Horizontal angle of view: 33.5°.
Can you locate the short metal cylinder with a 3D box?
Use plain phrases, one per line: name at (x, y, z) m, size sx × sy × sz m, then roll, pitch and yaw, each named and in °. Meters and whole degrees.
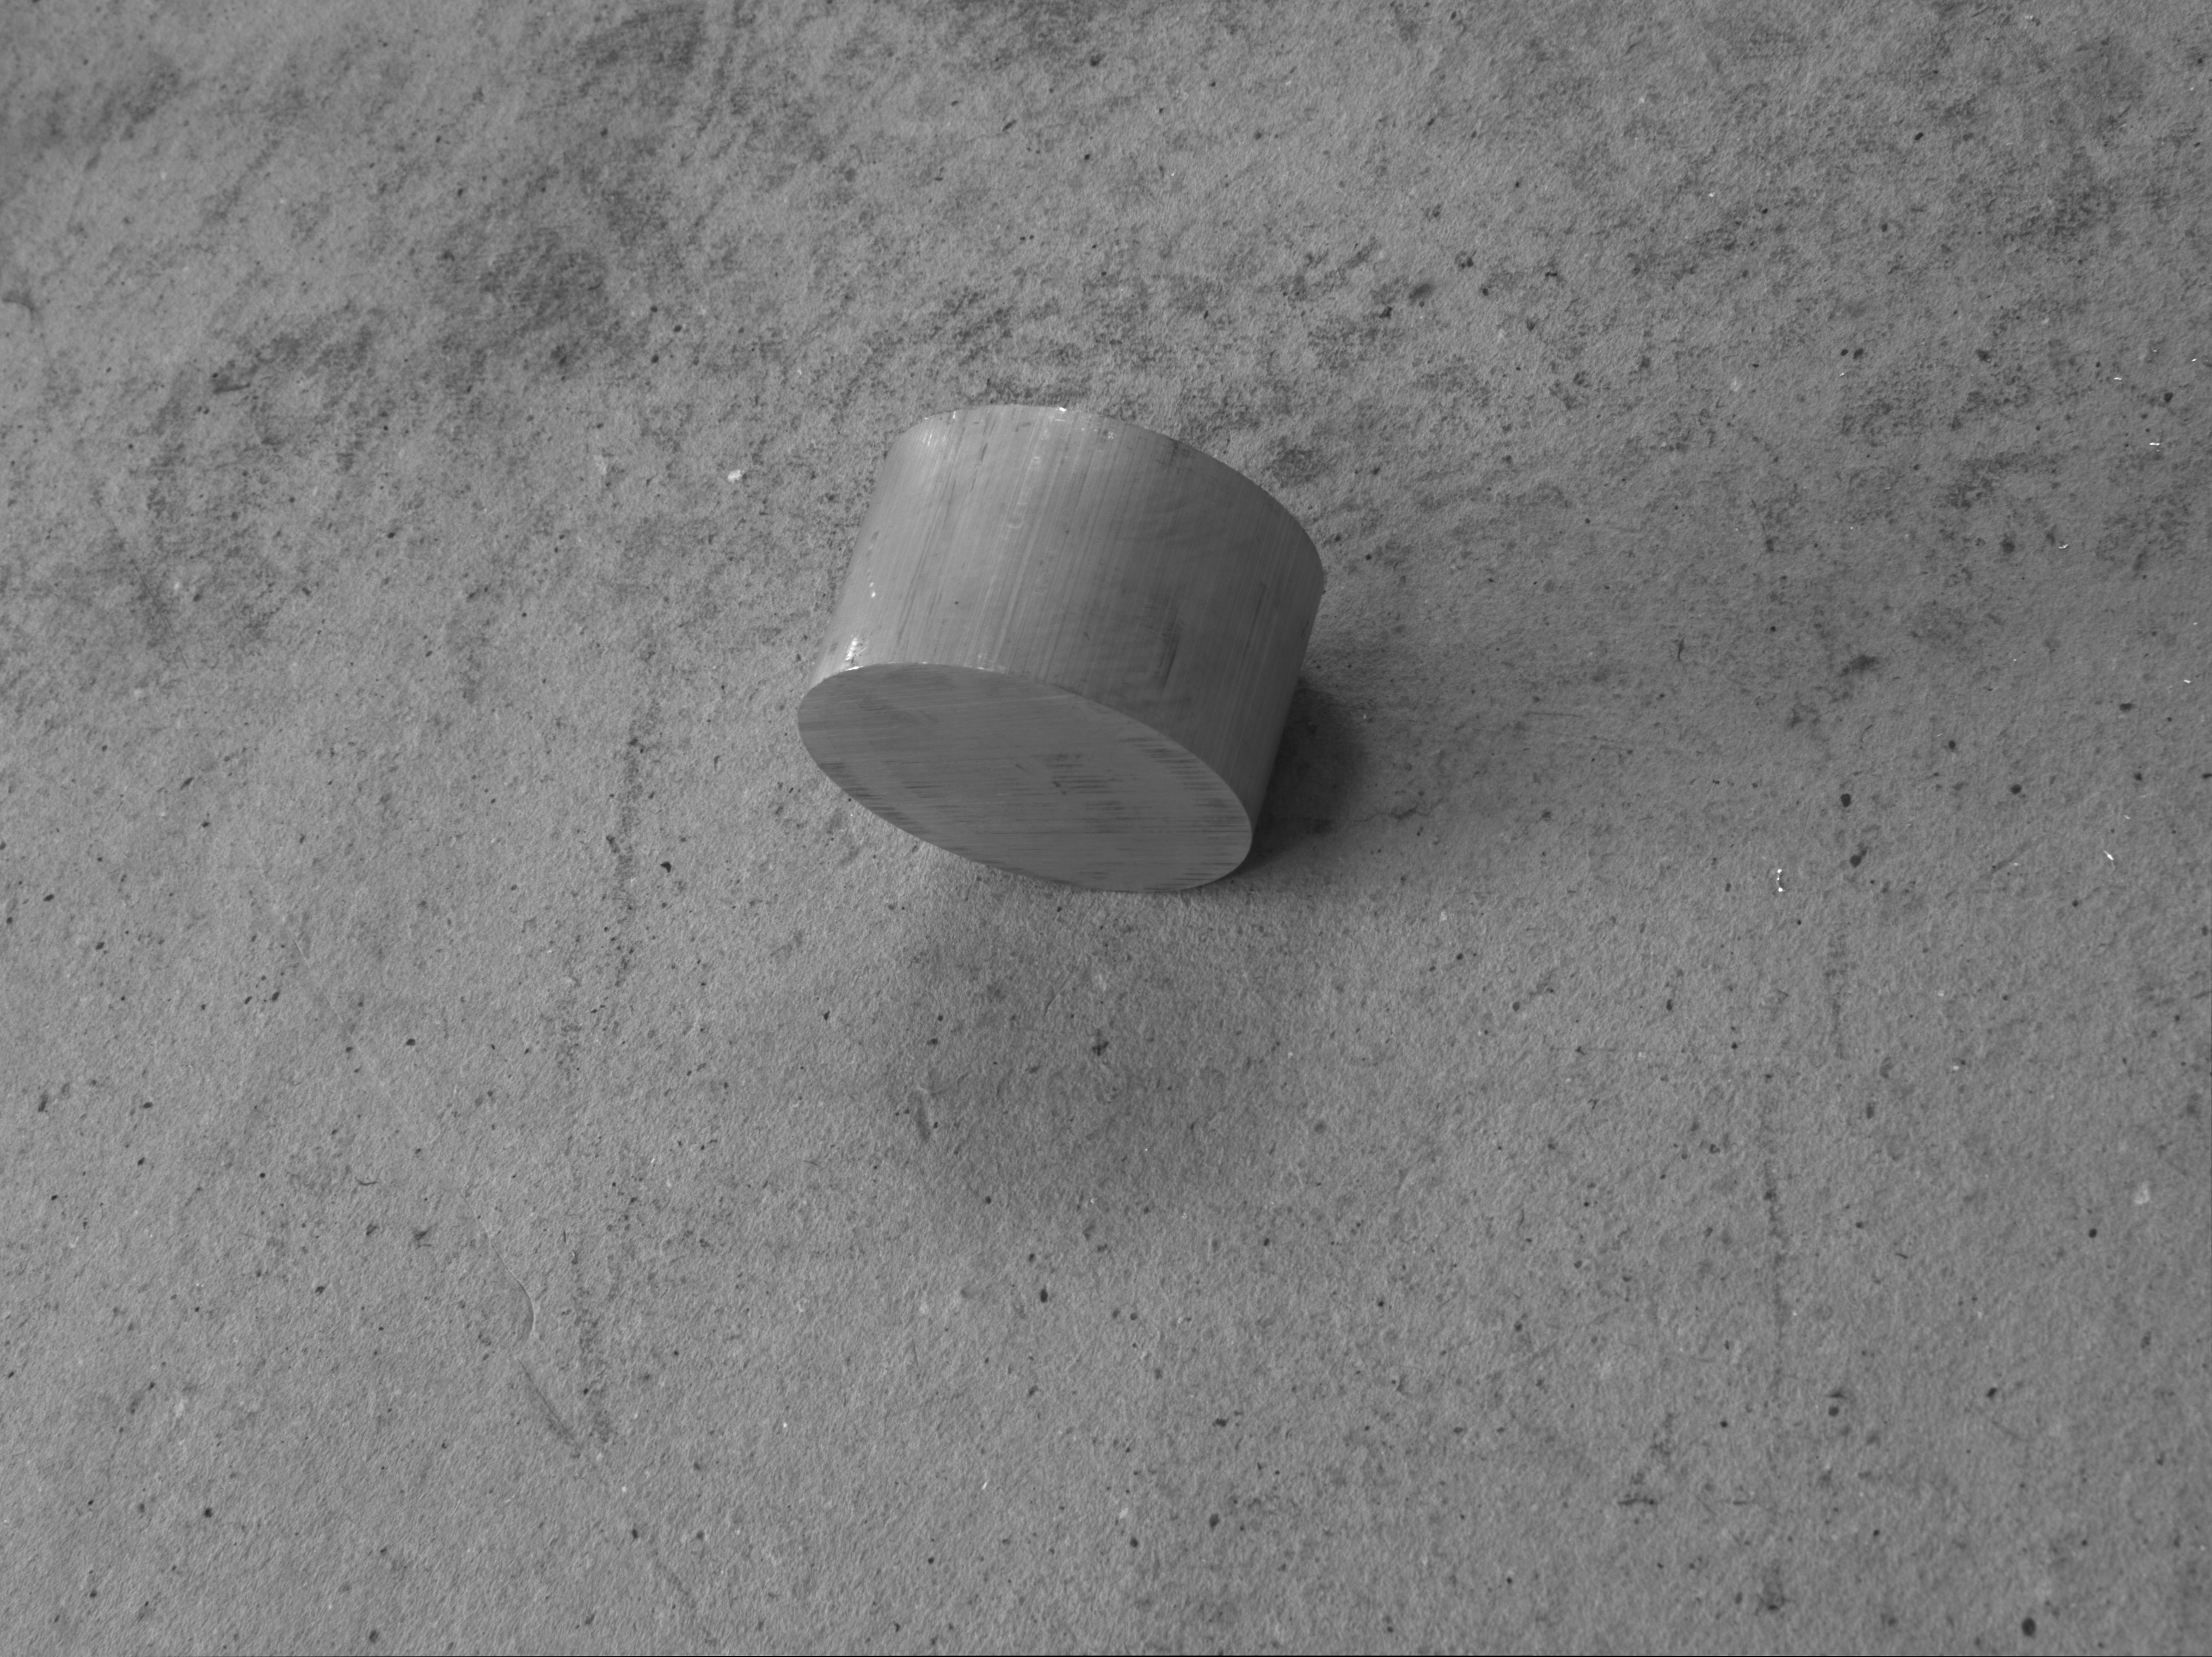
short metal cylinder at (-0.007, -0.030, 0.633) m, size 0.080 × 0.080 × 0.050 m, roll 2°, pitch 62°, yaw 29°
